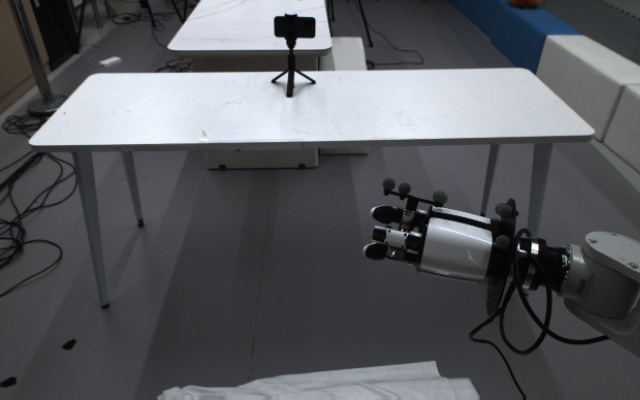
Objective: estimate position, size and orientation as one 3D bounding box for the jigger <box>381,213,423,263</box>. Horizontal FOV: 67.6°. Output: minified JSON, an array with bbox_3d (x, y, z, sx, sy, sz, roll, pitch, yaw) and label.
[{"bbox_3d":[0.121,0.047,0.677,0.043,0.071,0.043,14,1,0],"label":"jigger"}]
